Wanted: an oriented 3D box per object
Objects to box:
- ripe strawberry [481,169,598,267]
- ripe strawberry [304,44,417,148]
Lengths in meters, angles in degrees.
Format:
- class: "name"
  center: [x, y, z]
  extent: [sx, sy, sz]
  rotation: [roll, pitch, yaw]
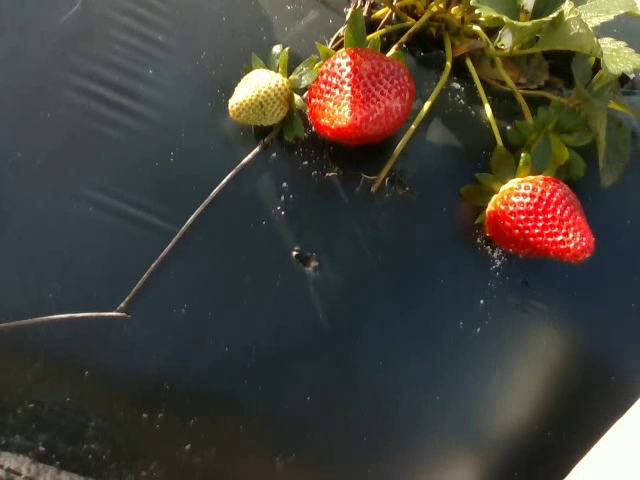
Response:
- class: "ripe strawberry"
  center: [0.072, -0.005, 0.182]
  extent: [0.033, 0.037, 0.039]
  rotation: [39, 21, -25]
- class: "ripe strawberry"
  center: [0.012, -0.041, 0.174]
  extent: [0.035, 0.041, 0.036]
  rotation: [20, 35, 2]
